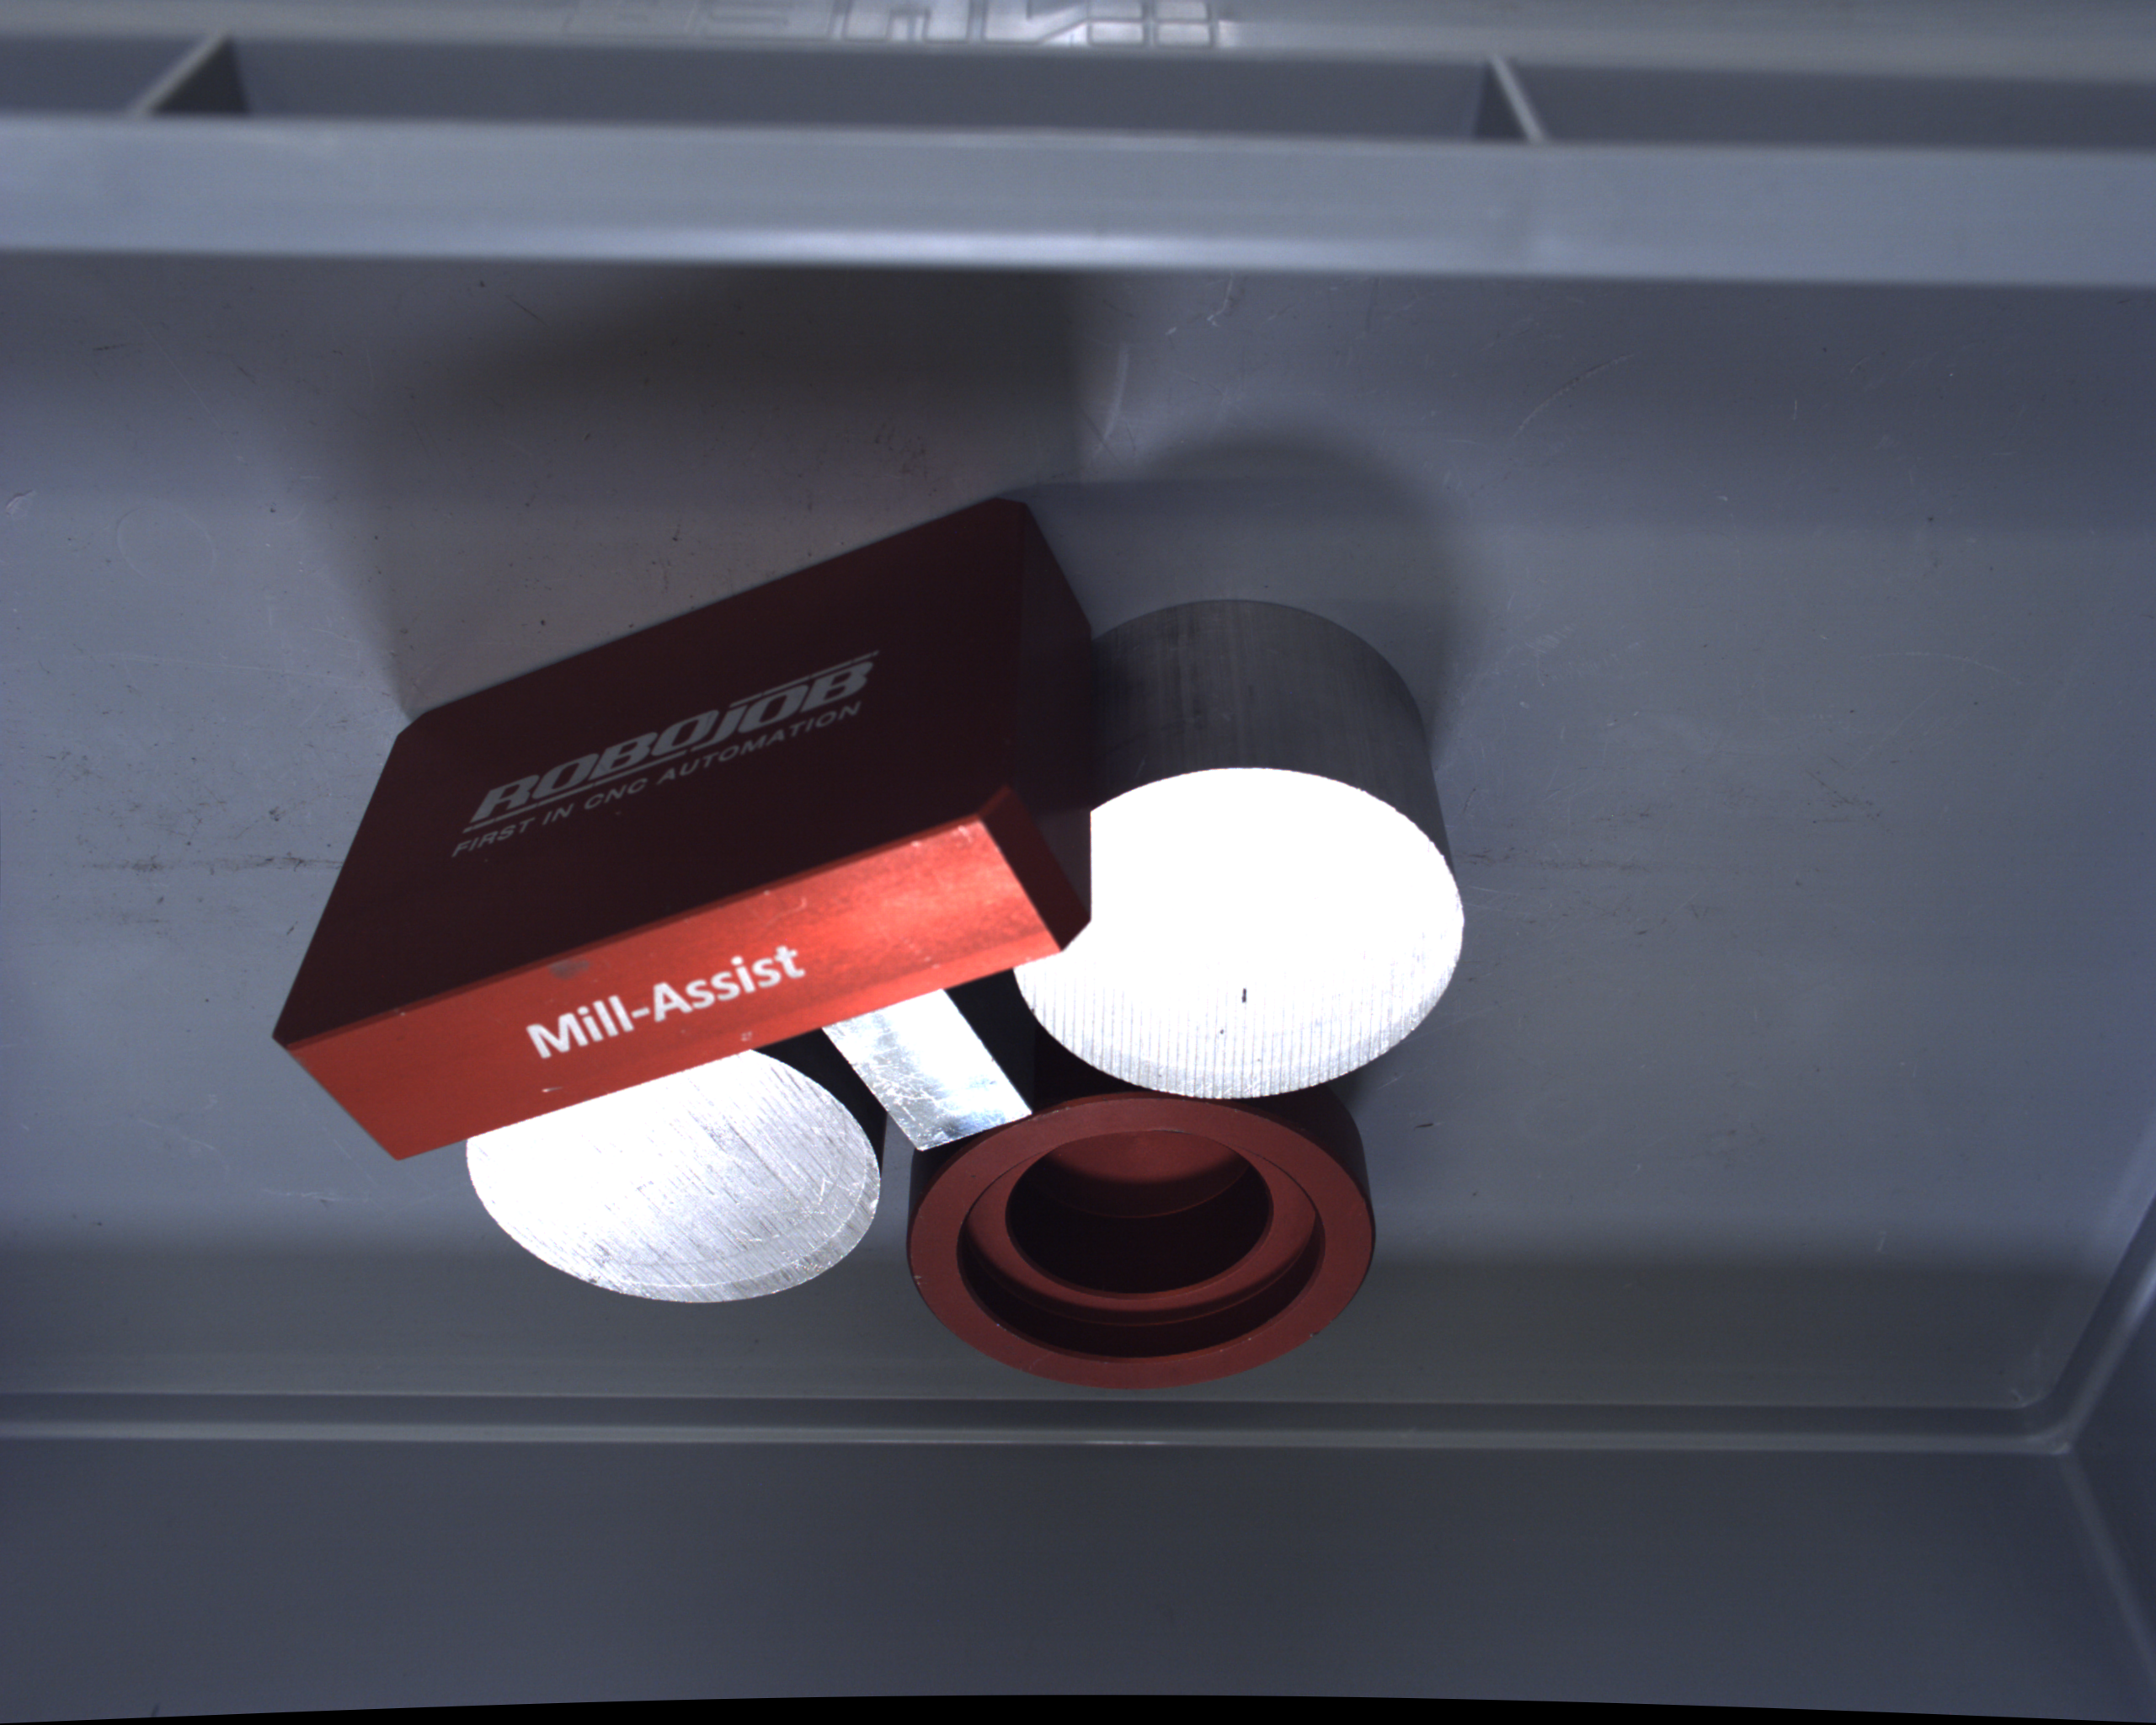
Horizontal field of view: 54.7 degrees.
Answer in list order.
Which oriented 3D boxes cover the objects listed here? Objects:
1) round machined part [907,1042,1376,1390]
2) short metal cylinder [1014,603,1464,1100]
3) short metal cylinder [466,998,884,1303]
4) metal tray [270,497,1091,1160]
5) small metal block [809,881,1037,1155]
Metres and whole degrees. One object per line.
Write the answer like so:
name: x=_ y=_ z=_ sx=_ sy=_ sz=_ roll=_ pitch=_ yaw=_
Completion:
round machined part: x=0.013 y=0.069 z=0.454 sx=0.099 sy=0.042 sz=0.097 roll=0 pitch=130 yaw=0
short metal cylinder: x=0.028 y=-0.001 z=0.389 sx=0.081 sy=0.050 sz=0.079 roll=0 pitch=130 yaw=0
short metal cylinder: x=-0.079 y=0.045 z=0.428 sx=0.081 sy=0.050 sz=0.079 roll=0 pitch=130 yaw=0
metal tray: x=-0.064 y=-0.007 z=0.356 sx=0.130 sy=0.090 sz=0.030 roll=-18 pitch=128 yaw=15
small metal block: x=-0.030 y=0.019 z=0.406 sx=0.025 sy=0.050 sz=0.050 roll=-20 pitch=128 yaw=16
